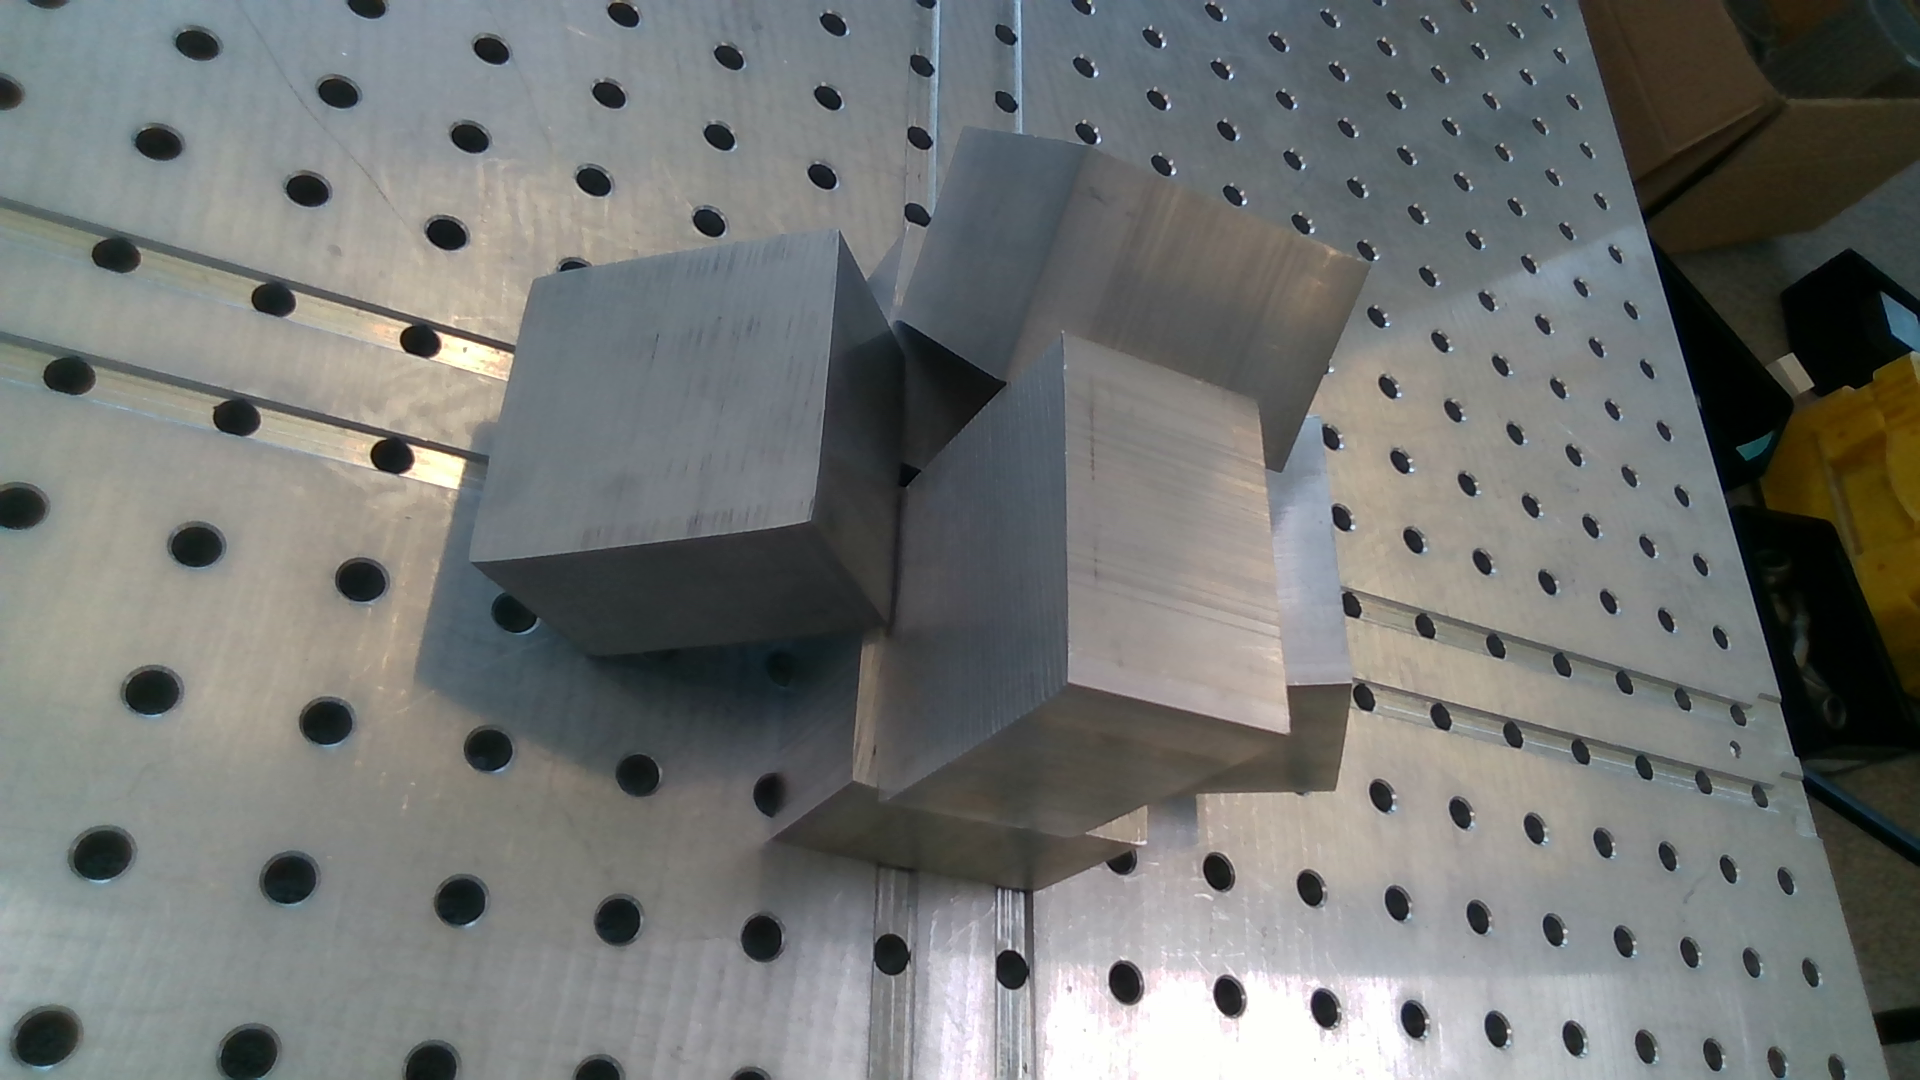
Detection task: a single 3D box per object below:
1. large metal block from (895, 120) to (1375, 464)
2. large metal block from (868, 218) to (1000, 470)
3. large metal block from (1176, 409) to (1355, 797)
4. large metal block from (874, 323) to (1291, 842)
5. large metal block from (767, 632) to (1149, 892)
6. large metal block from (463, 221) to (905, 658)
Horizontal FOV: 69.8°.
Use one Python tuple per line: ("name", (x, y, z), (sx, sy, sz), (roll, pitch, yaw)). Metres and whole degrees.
("large metal block", (0.039, -0.064, 0.344), (0.080, 0.080, 0.050), (15, 103, -24))
("large metal block", (0.004, -0.033, 0.401), (0.080, 0.050, 0.080), (21, 56, -21))
("large metal block", (0.078, 0.021, 0.389), (0.050, 0.080, 0.080), (-3, 60, 9))
("large metal block", (0.023, 0.014, 0.303), (0.050, 0.080, 0.080), (16, 58, -24))
("large metal block", (0.001, 0.040, 0.358), (0.080, 0.050, 0.080), (17, 58, -23))
("large metal block", (-0.061, -0.022, 0.328), (0.080, 0.050, 0.080), (-7, 60, 15))
